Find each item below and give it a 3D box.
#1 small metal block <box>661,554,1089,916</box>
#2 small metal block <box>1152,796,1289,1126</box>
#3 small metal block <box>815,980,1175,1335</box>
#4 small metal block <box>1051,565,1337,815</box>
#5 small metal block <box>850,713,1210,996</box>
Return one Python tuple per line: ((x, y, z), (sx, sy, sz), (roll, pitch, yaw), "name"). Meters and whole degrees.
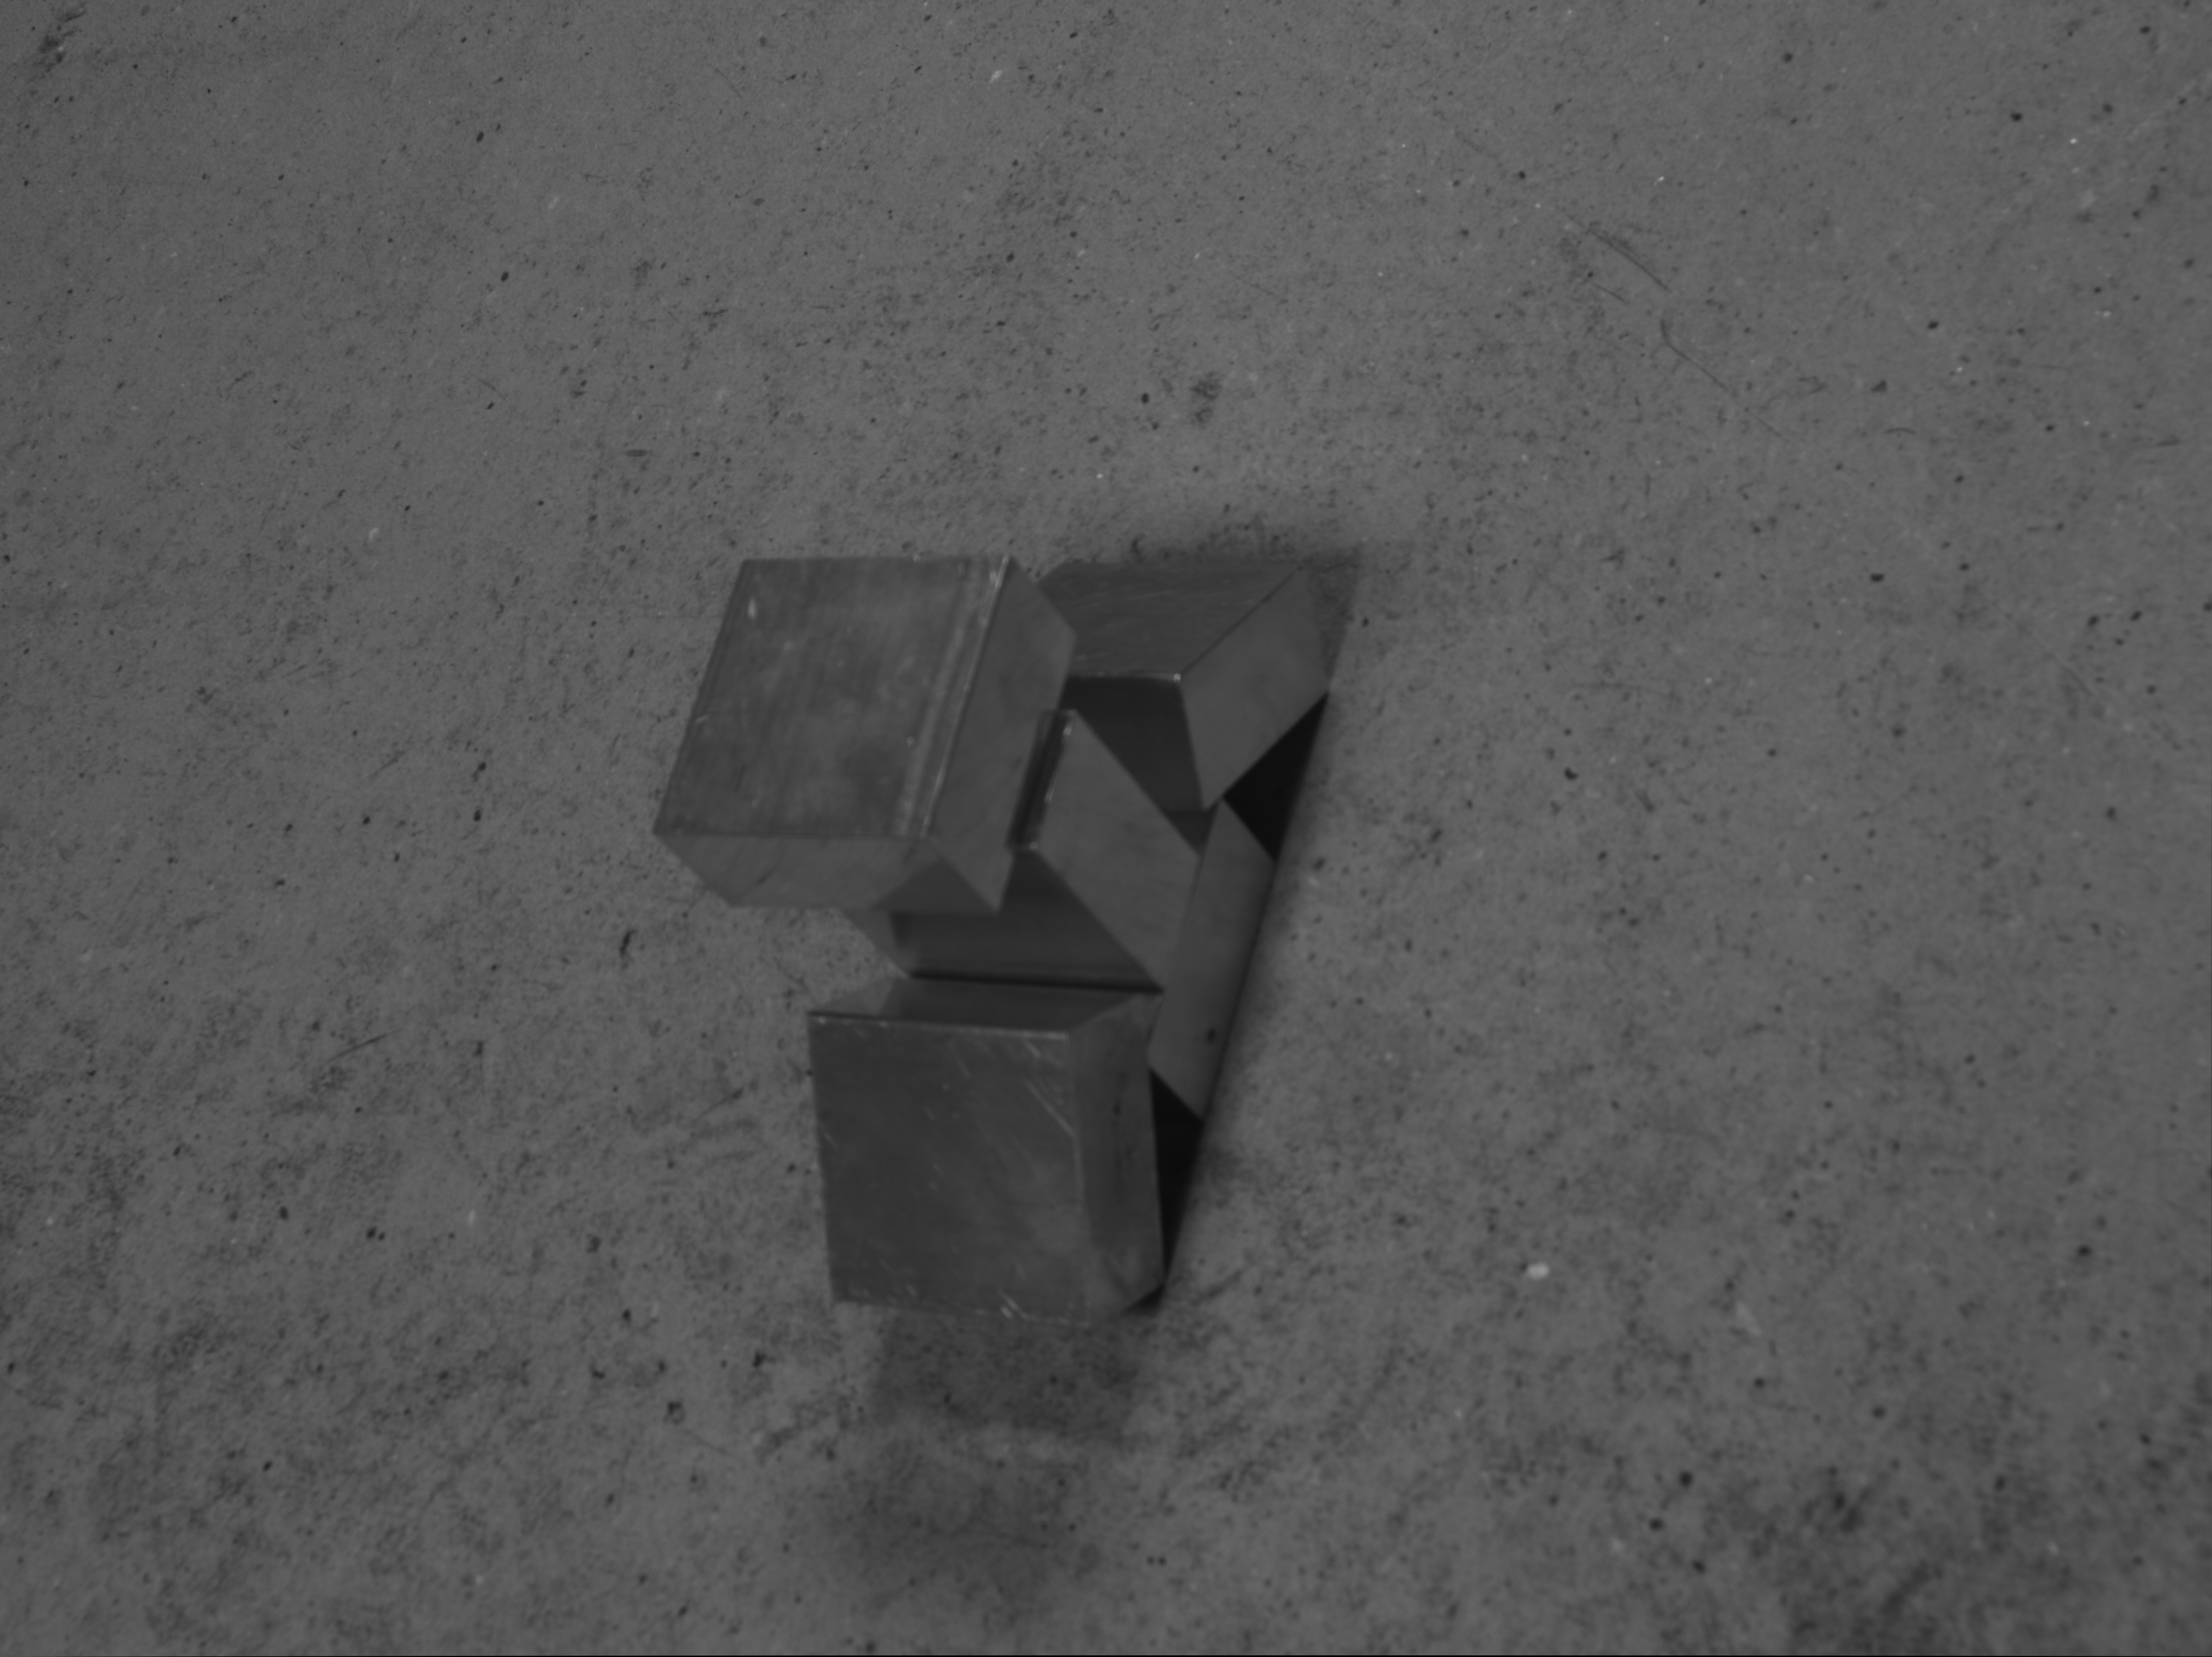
((-0.036, -0.015, 0.576), (0.050, 0.025, 0.050), (1, 62, 29), "small metal block")
((-0.002, 0.022, 0.633), (0.050, 0.025, 0.050), (2, 63, 29), "small metal block")
((-0.018, 0.053, 0.605), (0.050, 0.025, 0.050), (2, 103, 29), "small metal block")
((0.006, -0.025, 0.642), (0.050, 0.025, 0.050), (2, 27, 30), "small metal block")
((-0.018, 0.004, 0.603), (0.050, 0.050, 0.025), (2, 63, 30), "small metal block")
